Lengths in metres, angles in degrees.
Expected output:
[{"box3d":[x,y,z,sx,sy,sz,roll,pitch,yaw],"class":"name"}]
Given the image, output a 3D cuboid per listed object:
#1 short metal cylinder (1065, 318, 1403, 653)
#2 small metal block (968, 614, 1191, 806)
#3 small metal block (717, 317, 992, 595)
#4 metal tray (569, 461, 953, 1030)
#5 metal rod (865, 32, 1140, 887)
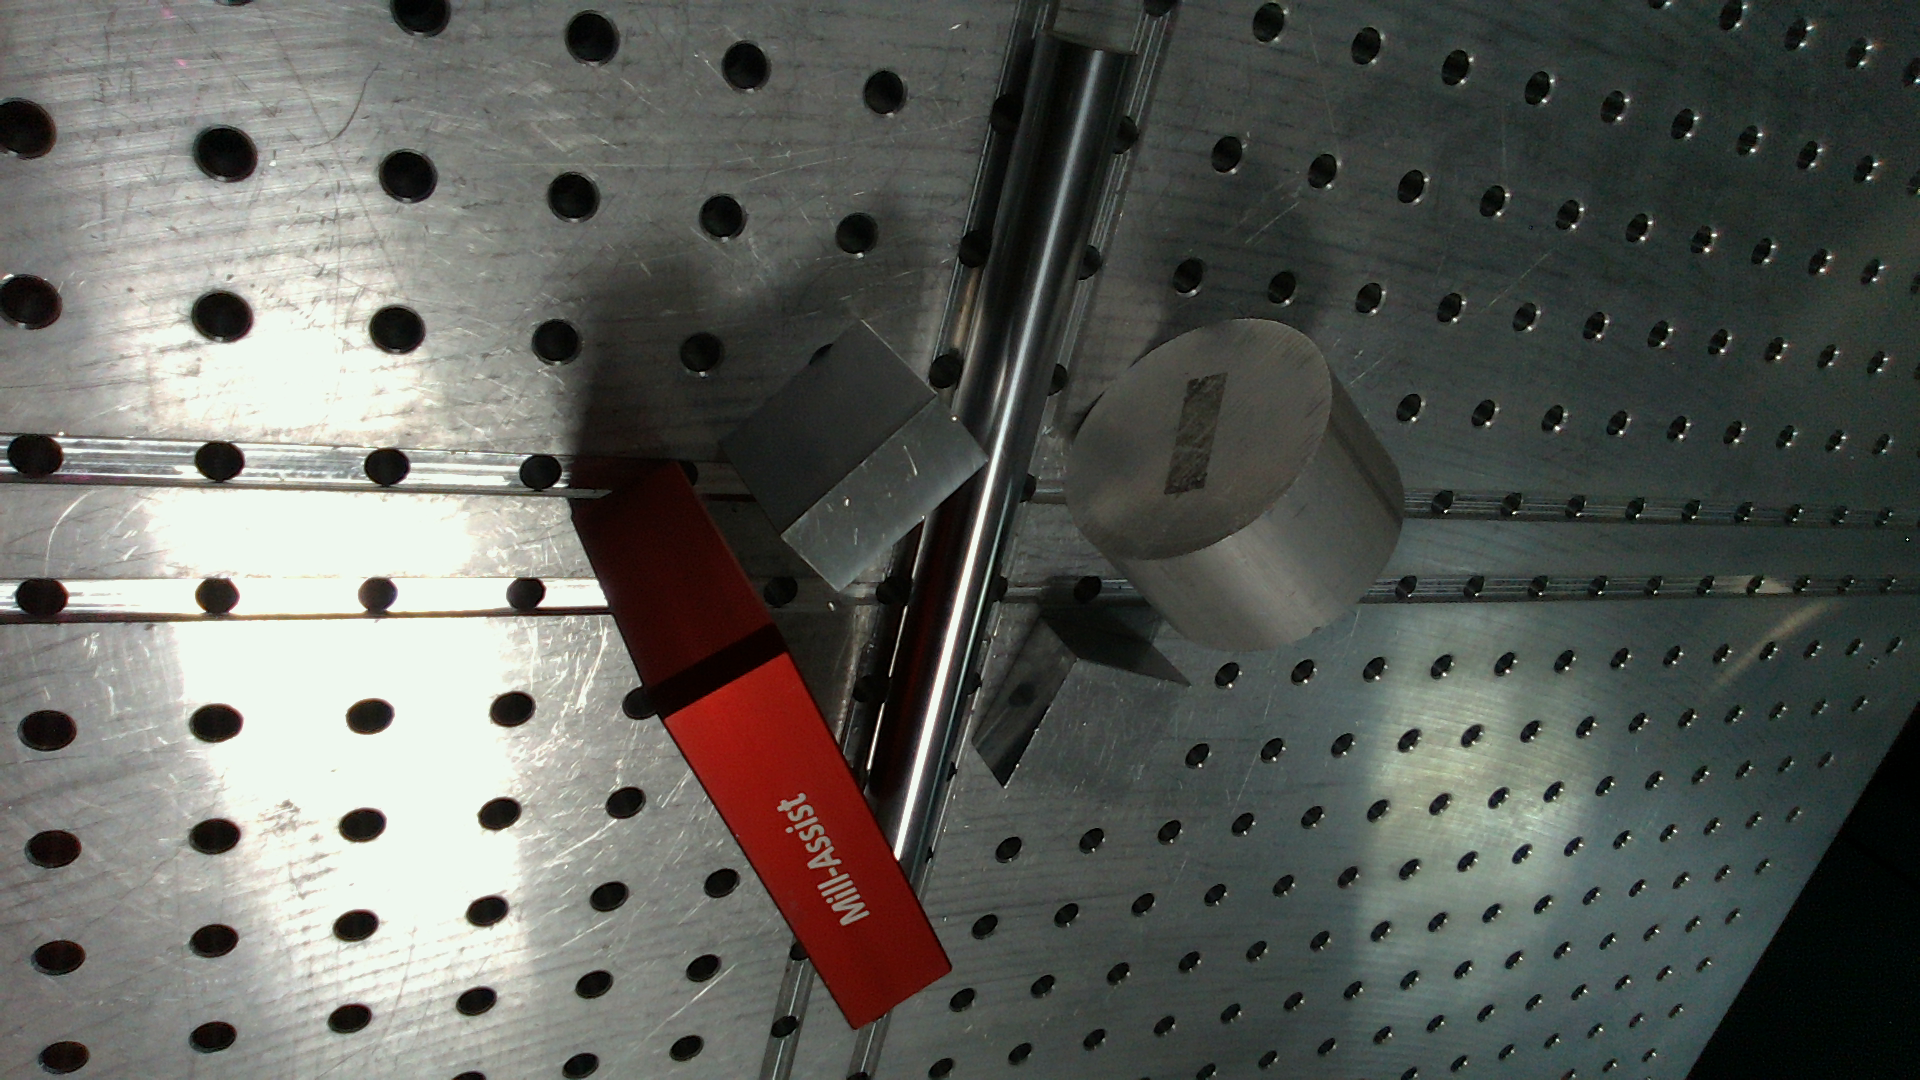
[{"box3d":[0.077,-0.015,0.389,0.080,0.080,0.050,-44,129,3],"class":"short metal cylinder"},{"box3d":[0.039,0.056,0.448,0.050,0.025,0.050,16,110,-35],"class":"small metal block"},{"box3d":[-0.028,-0.022,0.346,0.050,0.050,0.025,-41,129,0],"class":"small metal block"},{"box3d":[-0.050,0.054,0.355,0.030,0.090,0.130,-29,128,-10],"class":"metal tray"},{"box3d":[-0.001,0.011,0.398,0.025,0.025,0.300,0,119,-28],"class":"metal rod"}]
